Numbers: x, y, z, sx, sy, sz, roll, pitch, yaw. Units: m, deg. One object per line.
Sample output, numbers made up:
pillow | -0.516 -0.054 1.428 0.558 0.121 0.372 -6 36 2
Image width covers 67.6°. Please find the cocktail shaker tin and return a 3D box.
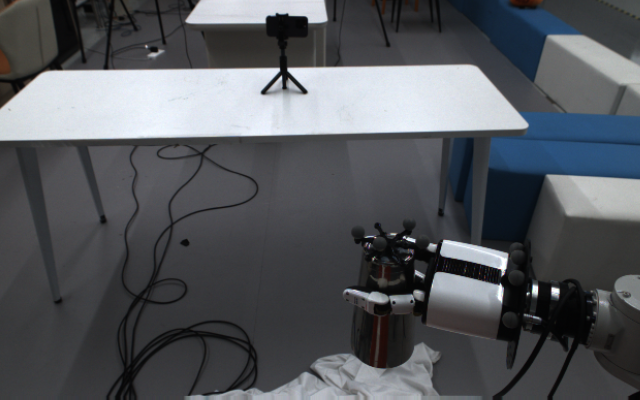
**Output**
cocktail shaker tin | 0.092 0.131 0.656 0.093 0.170 0.093 -1 32 1
